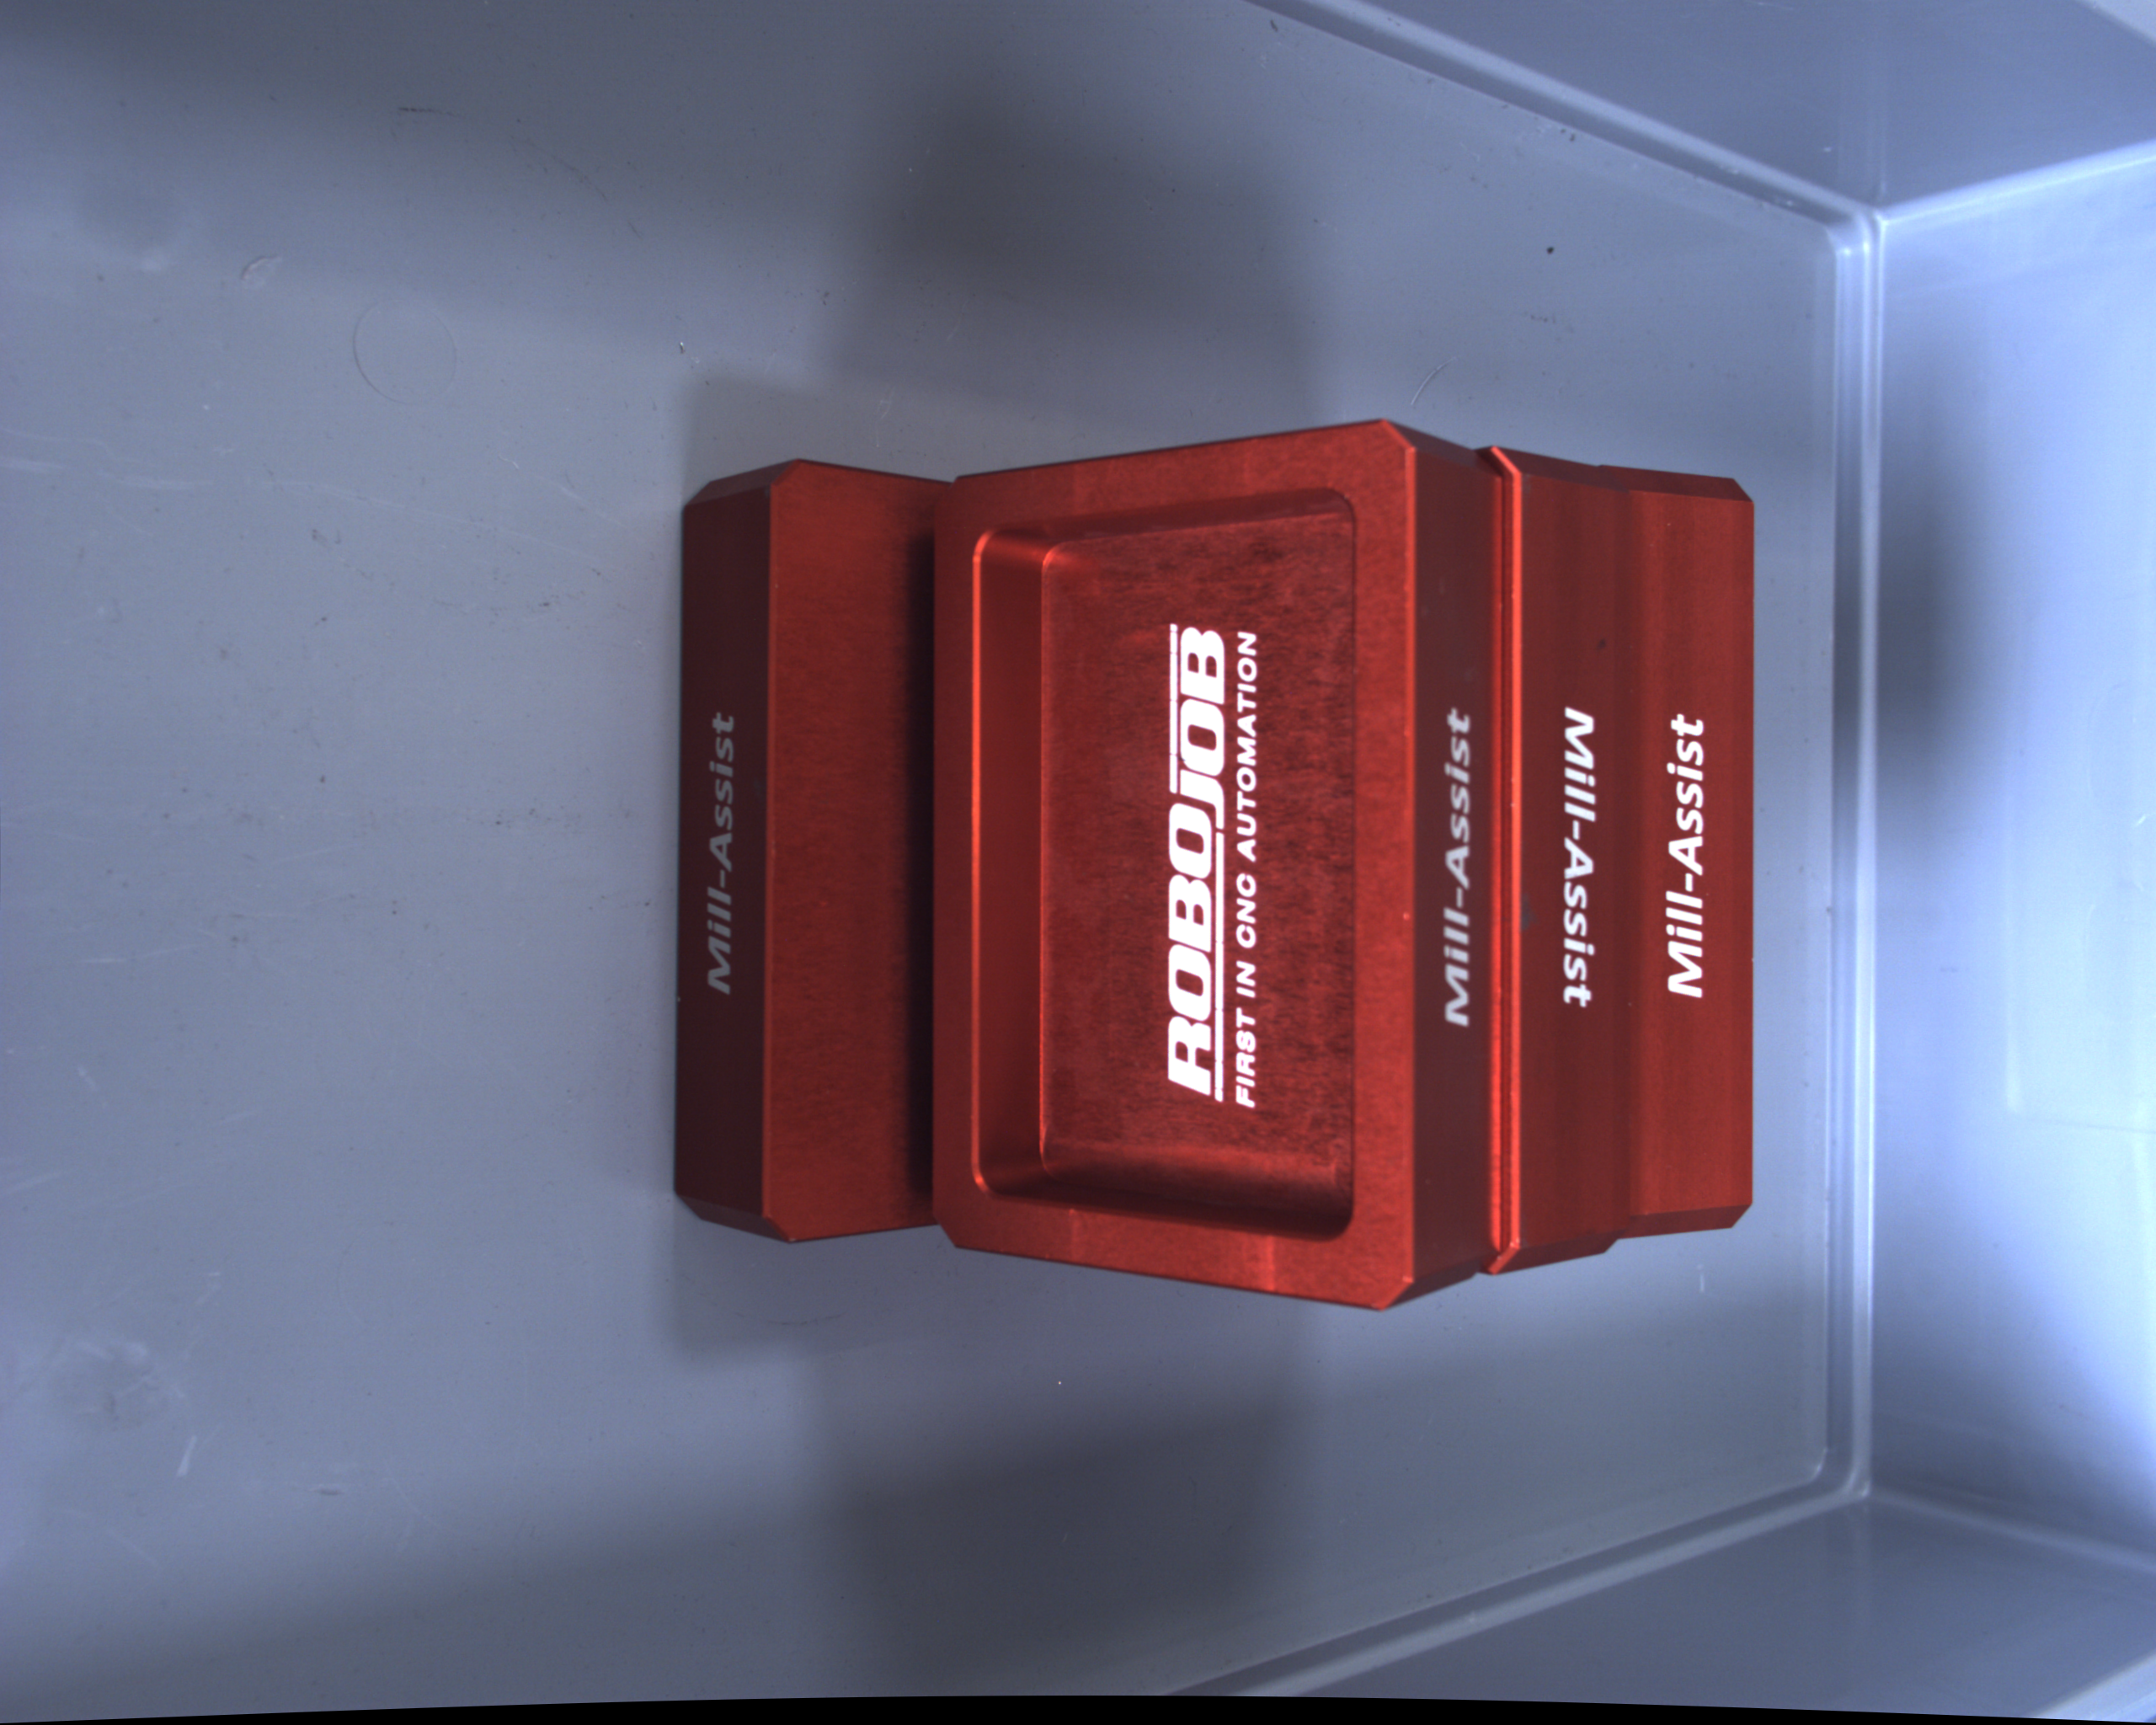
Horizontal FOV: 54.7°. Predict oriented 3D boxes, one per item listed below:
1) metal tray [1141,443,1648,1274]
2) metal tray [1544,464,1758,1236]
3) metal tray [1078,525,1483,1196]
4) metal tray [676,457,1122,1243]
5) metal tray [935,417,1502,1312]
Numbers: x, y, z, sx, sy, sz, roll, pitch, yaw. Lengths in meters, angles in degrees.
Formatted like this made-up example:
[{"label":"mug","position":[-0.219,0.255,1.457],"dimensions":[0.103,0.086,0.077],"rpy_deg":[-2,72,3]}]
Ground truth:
[{"label":"metal tray","position":[0.051,0.000,0.364],"dimensions":[0.030,0.090,0.129],"rpy_deg":[0,88,-40]},{"label":"metal tray","position":[0.083,-0.002,0.389],"dimensions":[0.030,0.090,0.129],"rpy_deg":[0,90,-26]},{"label":"metal tray","position":[0.044,0.000,0.438],"dimensions":[0.091,0.030,0.129],"rpy_deg":[1,90,-40]},{"label":"metal tray","position":[-0.025,-0.002,0.379],"dimensions":[0.091,0.030,0.129],"rpy_deg":[1,90,-40]},{"label":"metal tray","position":[0.021,0.000,0.336],"dimensions":[0.030,0.090,0.129],"rpy_deg":[0,90,-53]}]
